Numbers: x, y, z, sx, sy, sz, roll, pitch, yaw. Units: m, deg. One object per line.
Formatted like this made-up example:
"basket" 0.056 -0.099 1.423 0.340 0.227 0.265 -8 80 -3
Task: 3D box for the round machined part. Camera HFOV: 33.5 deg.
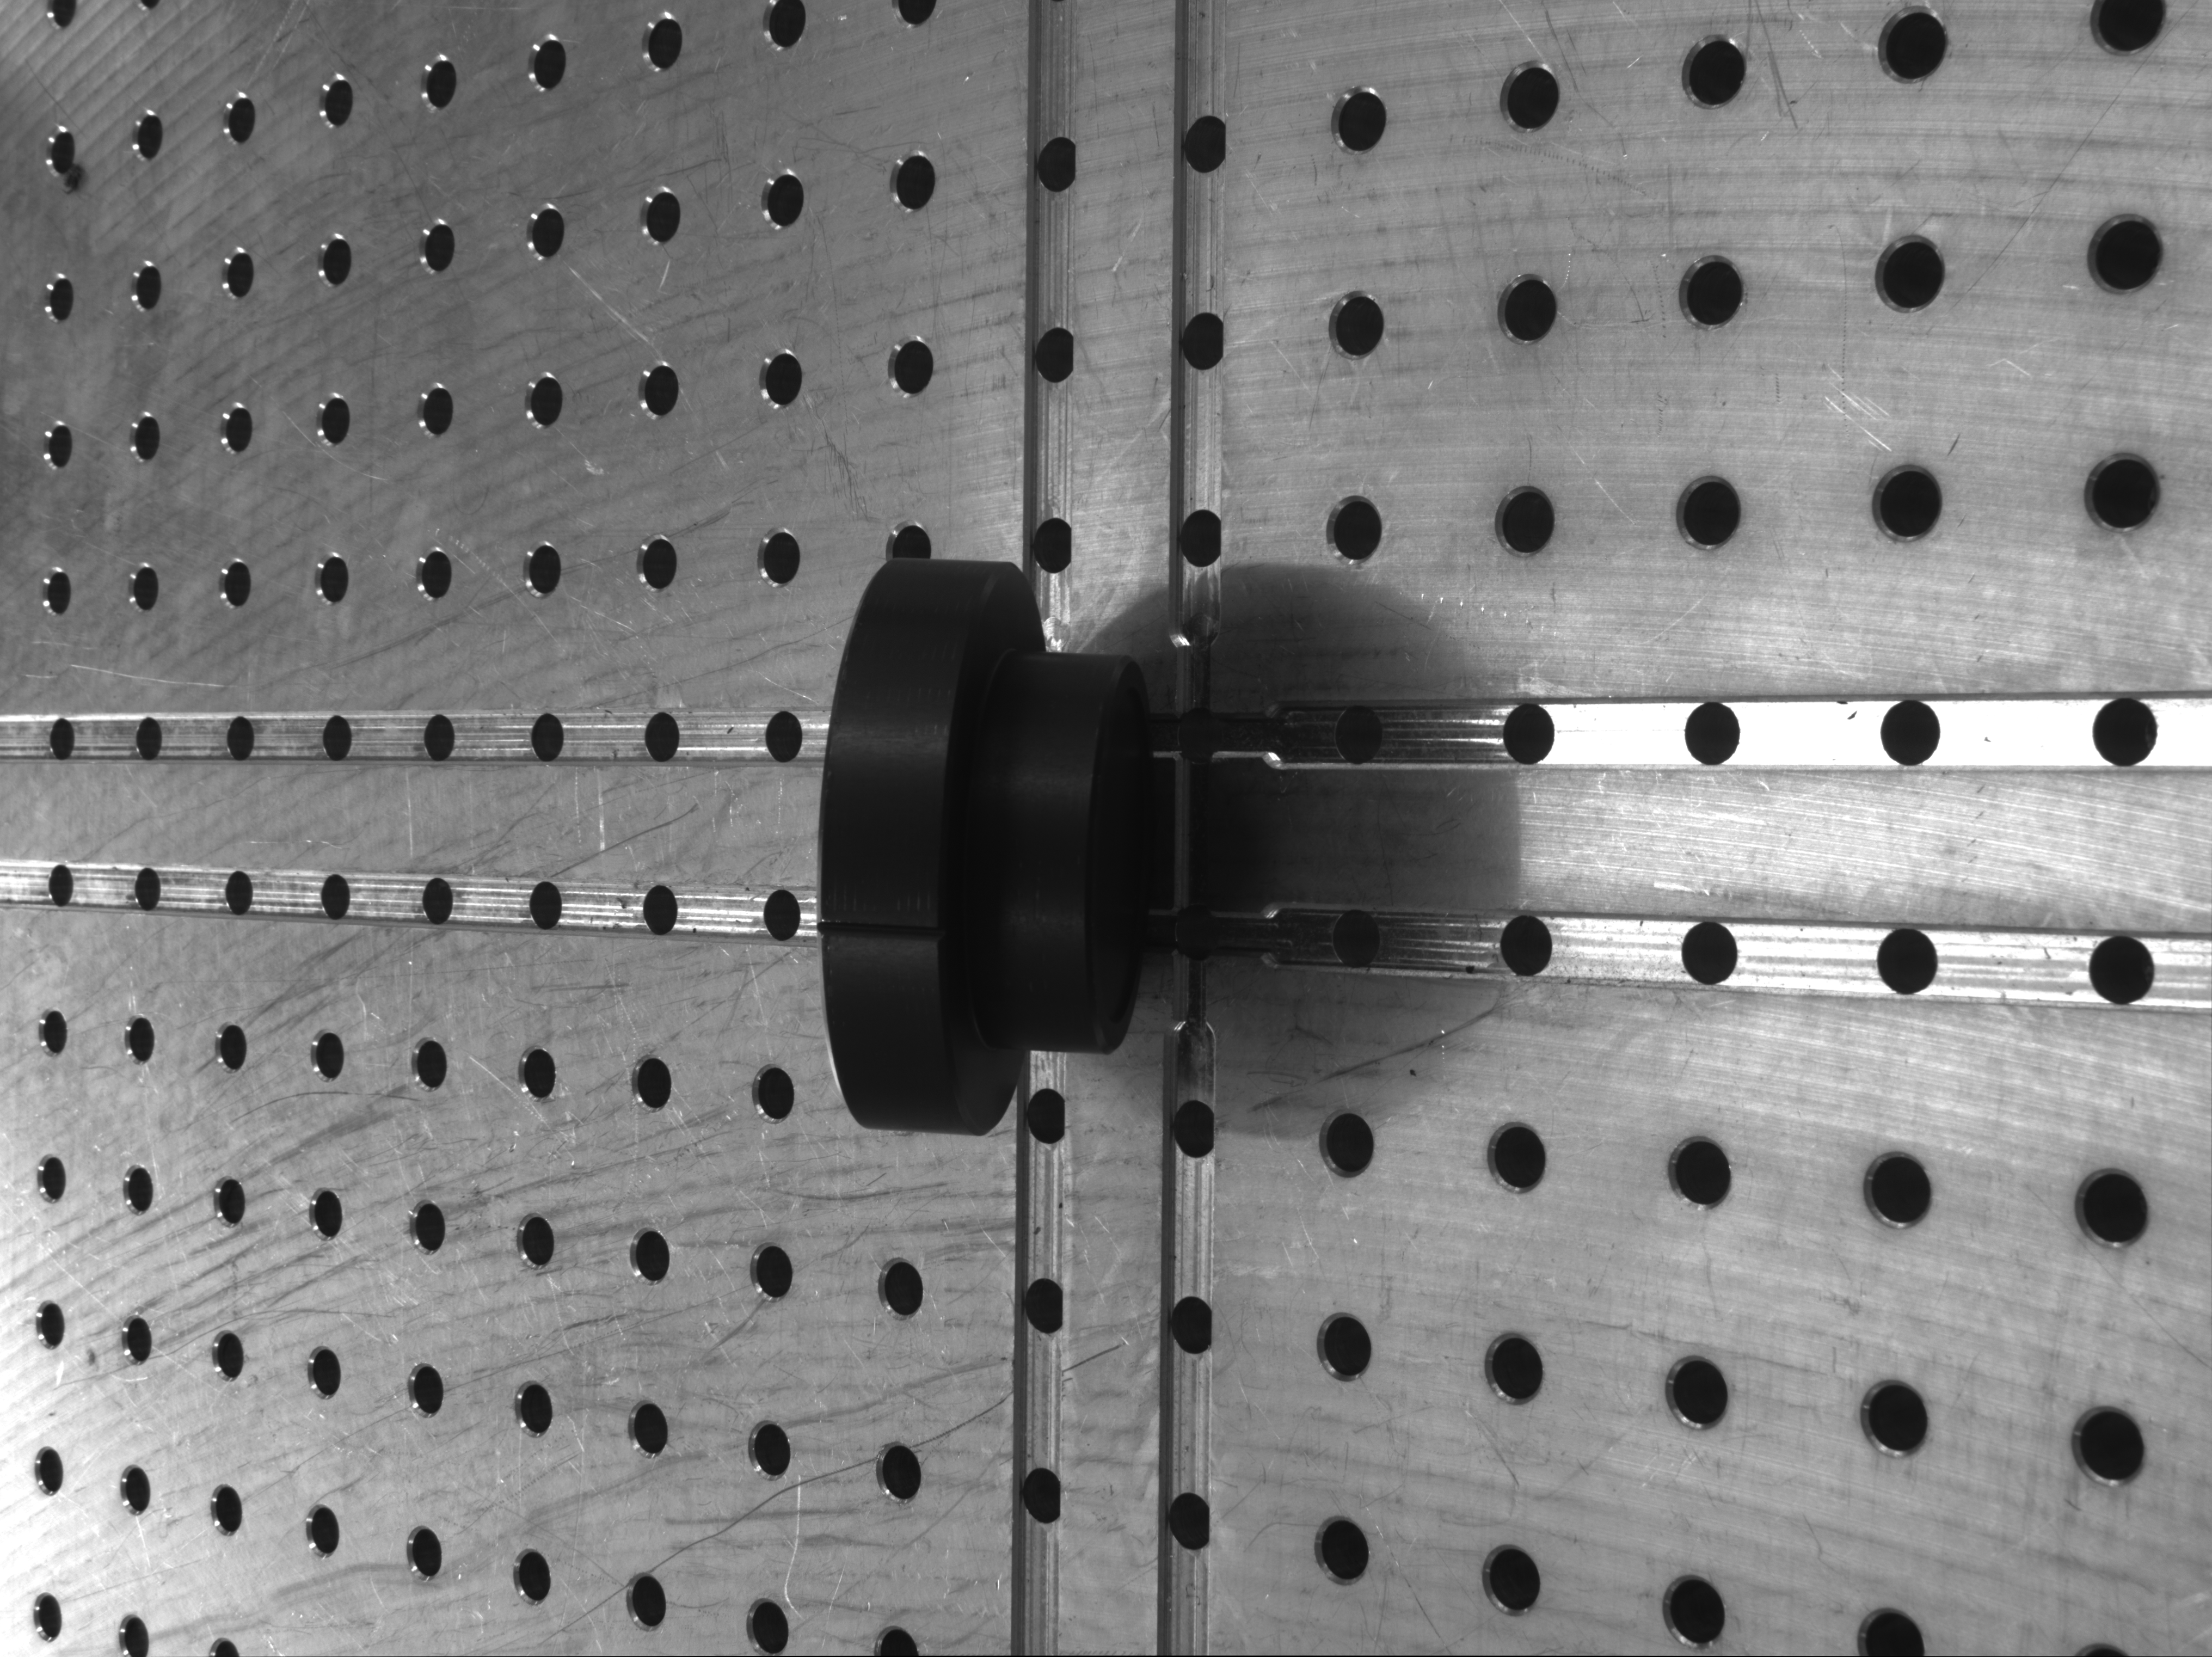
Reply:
"round machined part" -0.017 0.004 0.628 0.042 0.098 0.098 3 92 9
